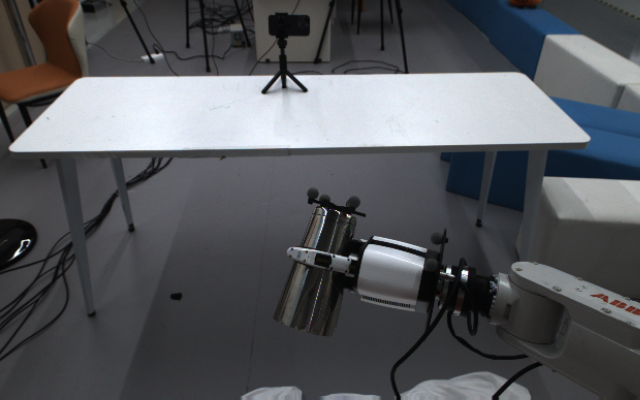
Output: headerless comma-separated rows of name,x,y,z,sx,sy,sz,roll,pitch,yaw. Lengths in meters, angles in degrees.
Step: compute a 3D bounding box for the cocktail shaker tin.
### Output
cocktail shaker tin,0.000,0.100,0.703,0.093,0.170,0.093,16,-6,2
